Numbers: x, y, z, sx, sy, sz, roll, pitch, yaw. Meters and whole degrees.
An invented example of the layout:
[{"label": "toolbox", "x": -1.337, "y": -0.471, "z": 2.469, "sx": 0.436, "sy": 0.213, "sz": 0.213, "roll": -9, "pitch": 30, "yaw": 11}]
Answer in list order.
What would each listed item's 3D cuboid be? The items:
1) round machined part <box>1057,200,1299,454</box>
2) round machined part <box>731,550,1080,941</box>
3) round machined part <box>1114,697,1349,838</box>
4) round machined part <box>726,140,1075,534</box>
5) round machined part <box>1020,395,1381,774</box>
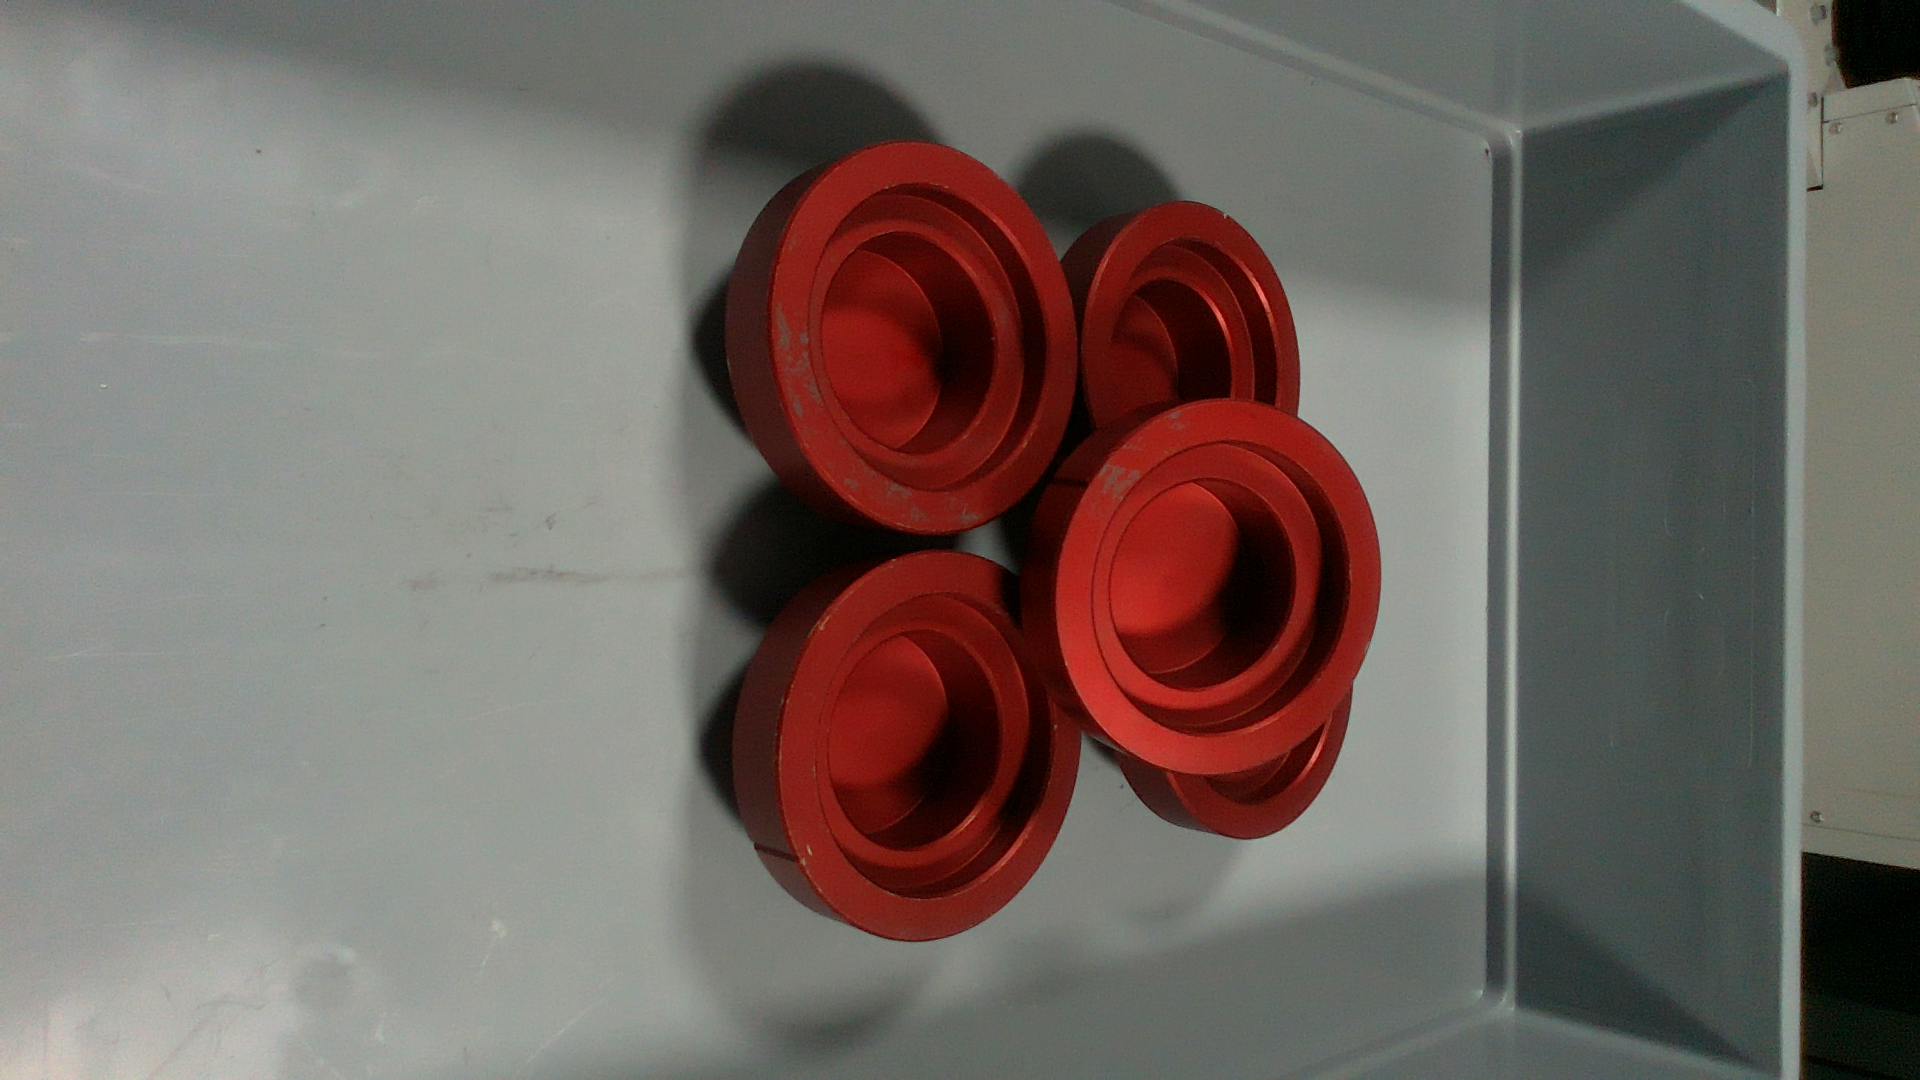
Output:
[{"label": "round machined part", "x": 0.058, "y": -0.052, "z": 0.424, "sx": 0.098, "sy": 0.042, "sz": 0.098, "roll": 0, "pitch": 90, "yaw": -40}, {"label": "round machined part", "x": -0.018, "y": 0.051, "z": 0.362, "sx": 0.098, "sy": 0.042, "sz": 0.098, "roll": 0, "pitch": 90, "yaw": -40}, {"label": "round machined part", "x": 0.080, "y": 0.043, "z": 0.443, "sx": 0.098, "sy": 0.042, "sz": 0.098, "roll": 0, "pitch": 90, "yaw": -40}, {"label": "round machined part", "x": -0.019, "y": -0.051, "z": 0.360, "sx": 0.098, "sy": 0.042, "sz": 0.098, "roll": 0, "pitch": 90, "yaw": -40}, {"label": "round machined part", "x": 0.061, "y": 0.010, "z": 0.372, "sx": 0.098, "sy": 0.042, "sz": 0.098, "roll": -2, "pitch": 95, "yaw": -21}]
